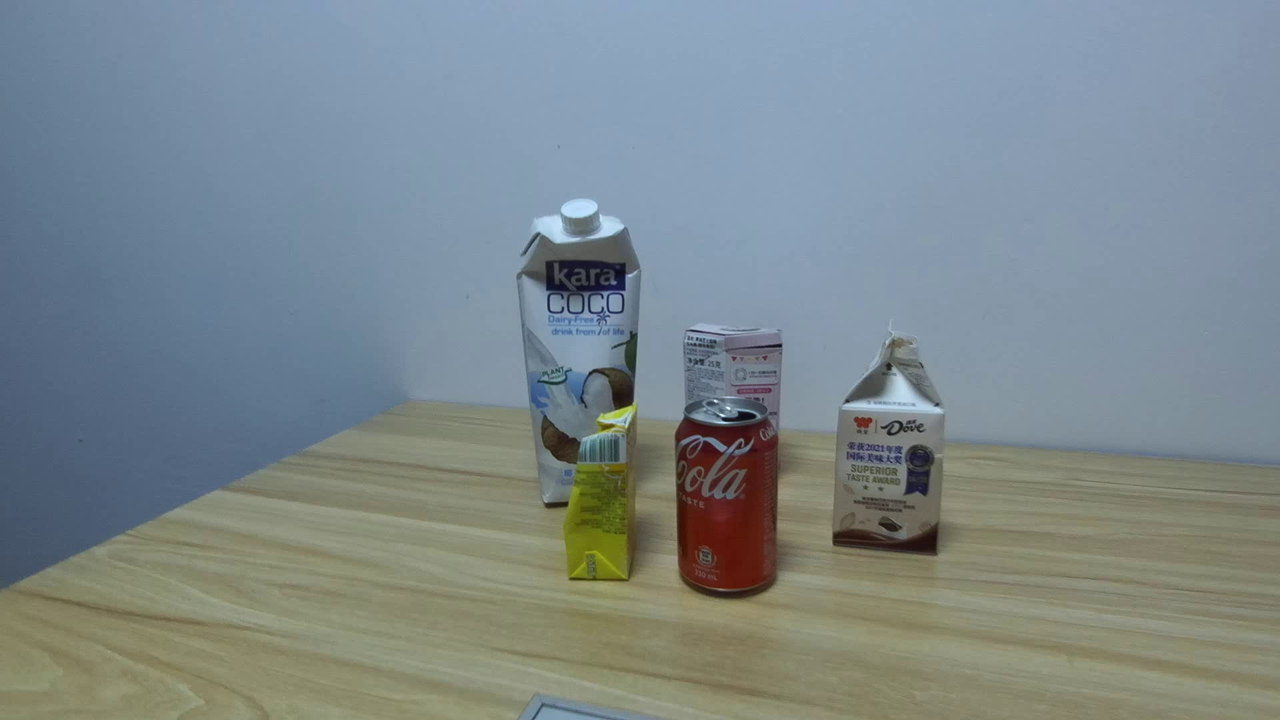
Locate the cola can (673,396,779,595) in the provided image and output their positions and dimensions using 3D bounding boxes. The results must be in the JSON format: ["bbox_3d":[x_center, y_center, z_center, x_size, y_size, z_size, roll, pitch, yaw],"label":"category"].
[{"bbox_3d":[0.057,0.087,0.462,0.068,0.120,0.068,-2,14,1],"label":"cola can"}]

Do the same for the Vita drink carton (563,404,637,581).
[{"bbox_3d":[-0.026,0.086,0.488,0.046,0.109,0.071,2,14,5],"label":"Vita drink carton"}]

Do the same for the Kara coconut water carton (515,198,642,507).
[{"bbox_3d":[-0.047,-0.006,0.587,0.100,0.244,0.071,-4,14,-6],"label":"Kara coconut water carton"}]

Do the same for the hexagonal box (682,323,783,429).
[{"bbox_3d":[0.083,0.036,0.628,0.092,0.135,0.085,-5,14,-13],"label":"hexagonal box"}]
